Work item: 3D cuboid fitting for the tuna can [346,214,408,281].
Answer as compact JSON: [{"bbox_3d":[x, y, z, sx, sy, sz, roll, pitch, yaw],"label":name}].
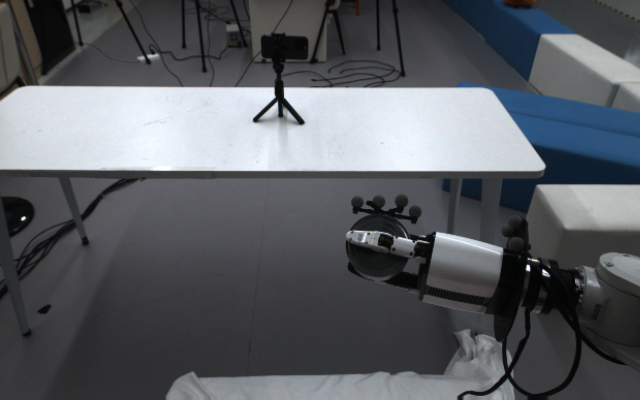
[{"bbox_3d":[0.079,0.059,0.644,0.085,0.034,0.085,-3,67,7],"label":"tuna can"}]
